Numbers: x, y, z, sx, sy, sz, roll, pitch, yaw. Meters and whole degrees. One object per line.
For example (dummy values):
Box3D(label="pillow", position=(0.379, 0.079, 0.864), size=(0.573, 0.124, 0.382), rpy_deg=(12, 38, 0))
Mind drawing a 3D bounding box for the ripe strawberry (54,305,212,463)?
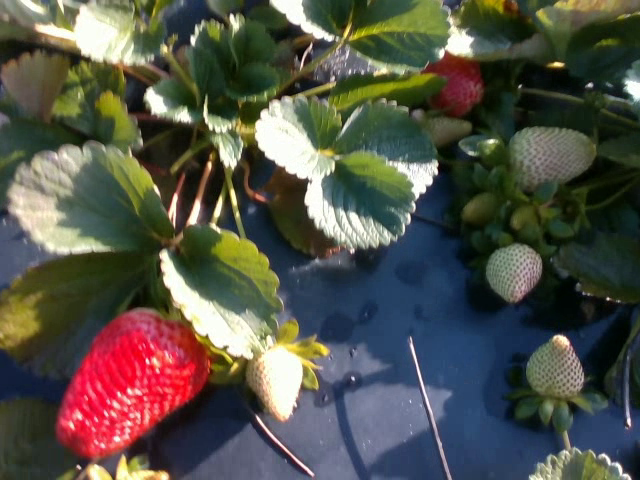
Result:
Box3D(label="ripe strawberry", position=(-0.078, 0.059, 0.265), size=(0.057, 0.055, 0.072), rpy_deg=(-18, 33, 36))
